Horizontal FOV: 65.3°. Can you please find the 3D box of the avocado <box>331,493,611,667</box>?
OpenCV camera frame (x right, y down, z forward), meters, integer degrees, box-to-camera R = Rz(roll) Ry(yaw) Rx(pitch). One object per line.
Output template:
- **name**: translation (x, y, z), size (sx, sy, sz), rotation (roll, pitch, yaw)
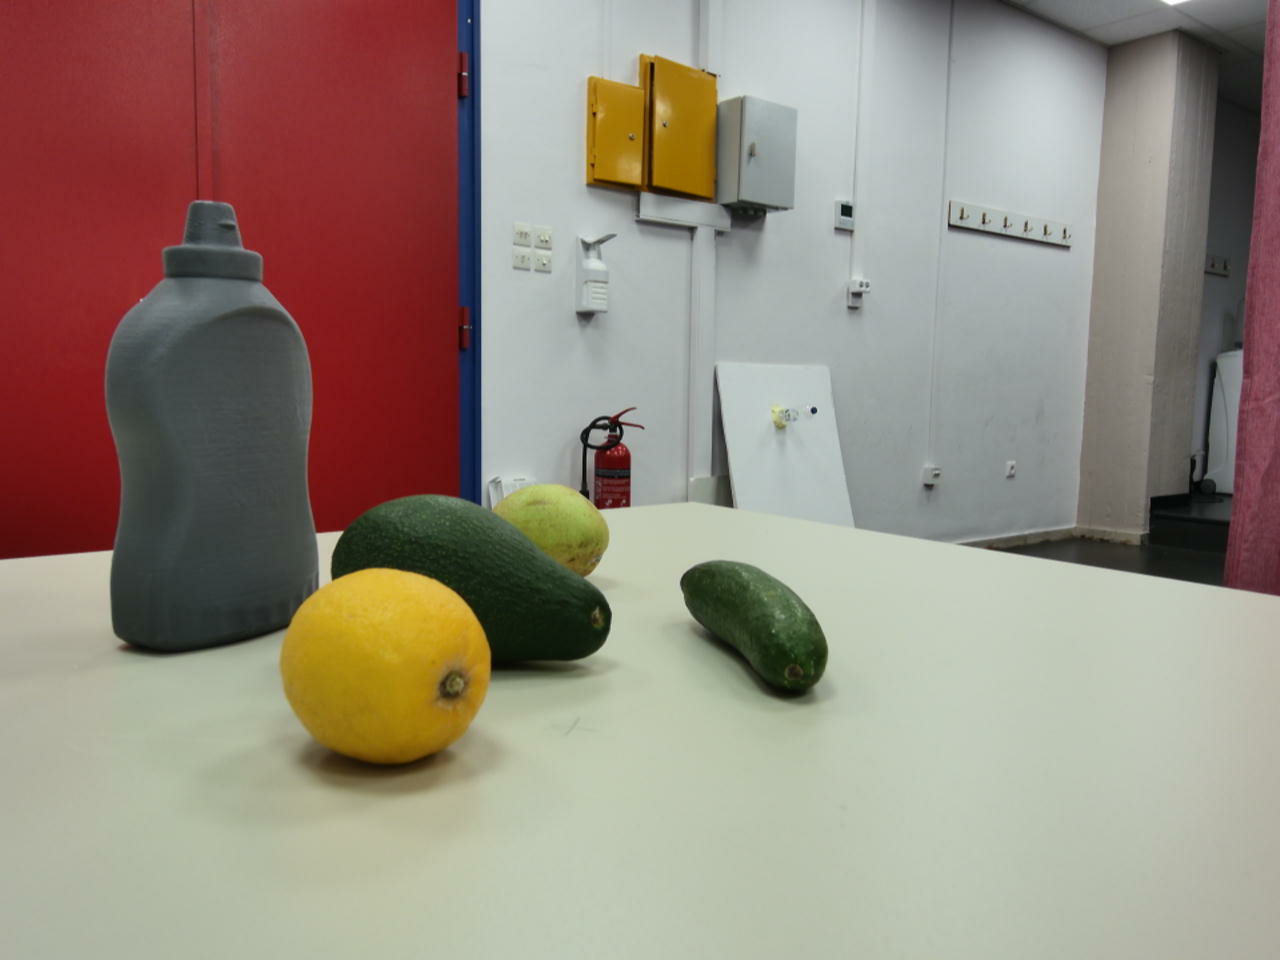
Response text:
- **avocado**: translation (-0.072, 0.041, 0.411), size (0.110, 0.071, 0.072), rotation (2, 4, 29)
